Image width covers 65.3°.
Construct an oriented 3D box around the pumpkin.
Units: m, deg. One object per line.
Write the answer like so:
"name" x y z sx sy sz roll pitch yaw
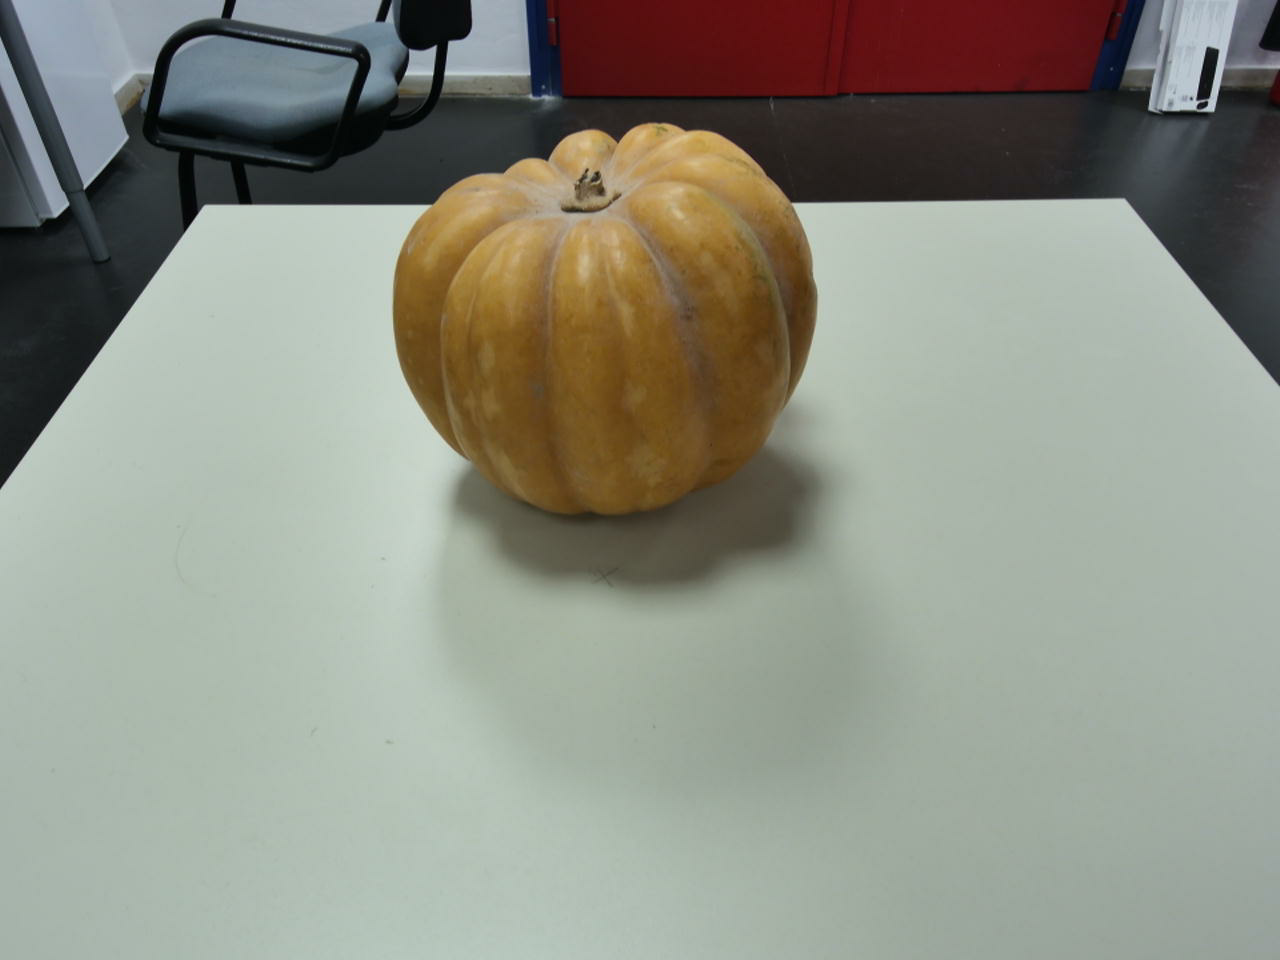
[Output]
"pumpkin" -0.015 -0.086 0.551 0.230 0.194 0.230 0 40 0
